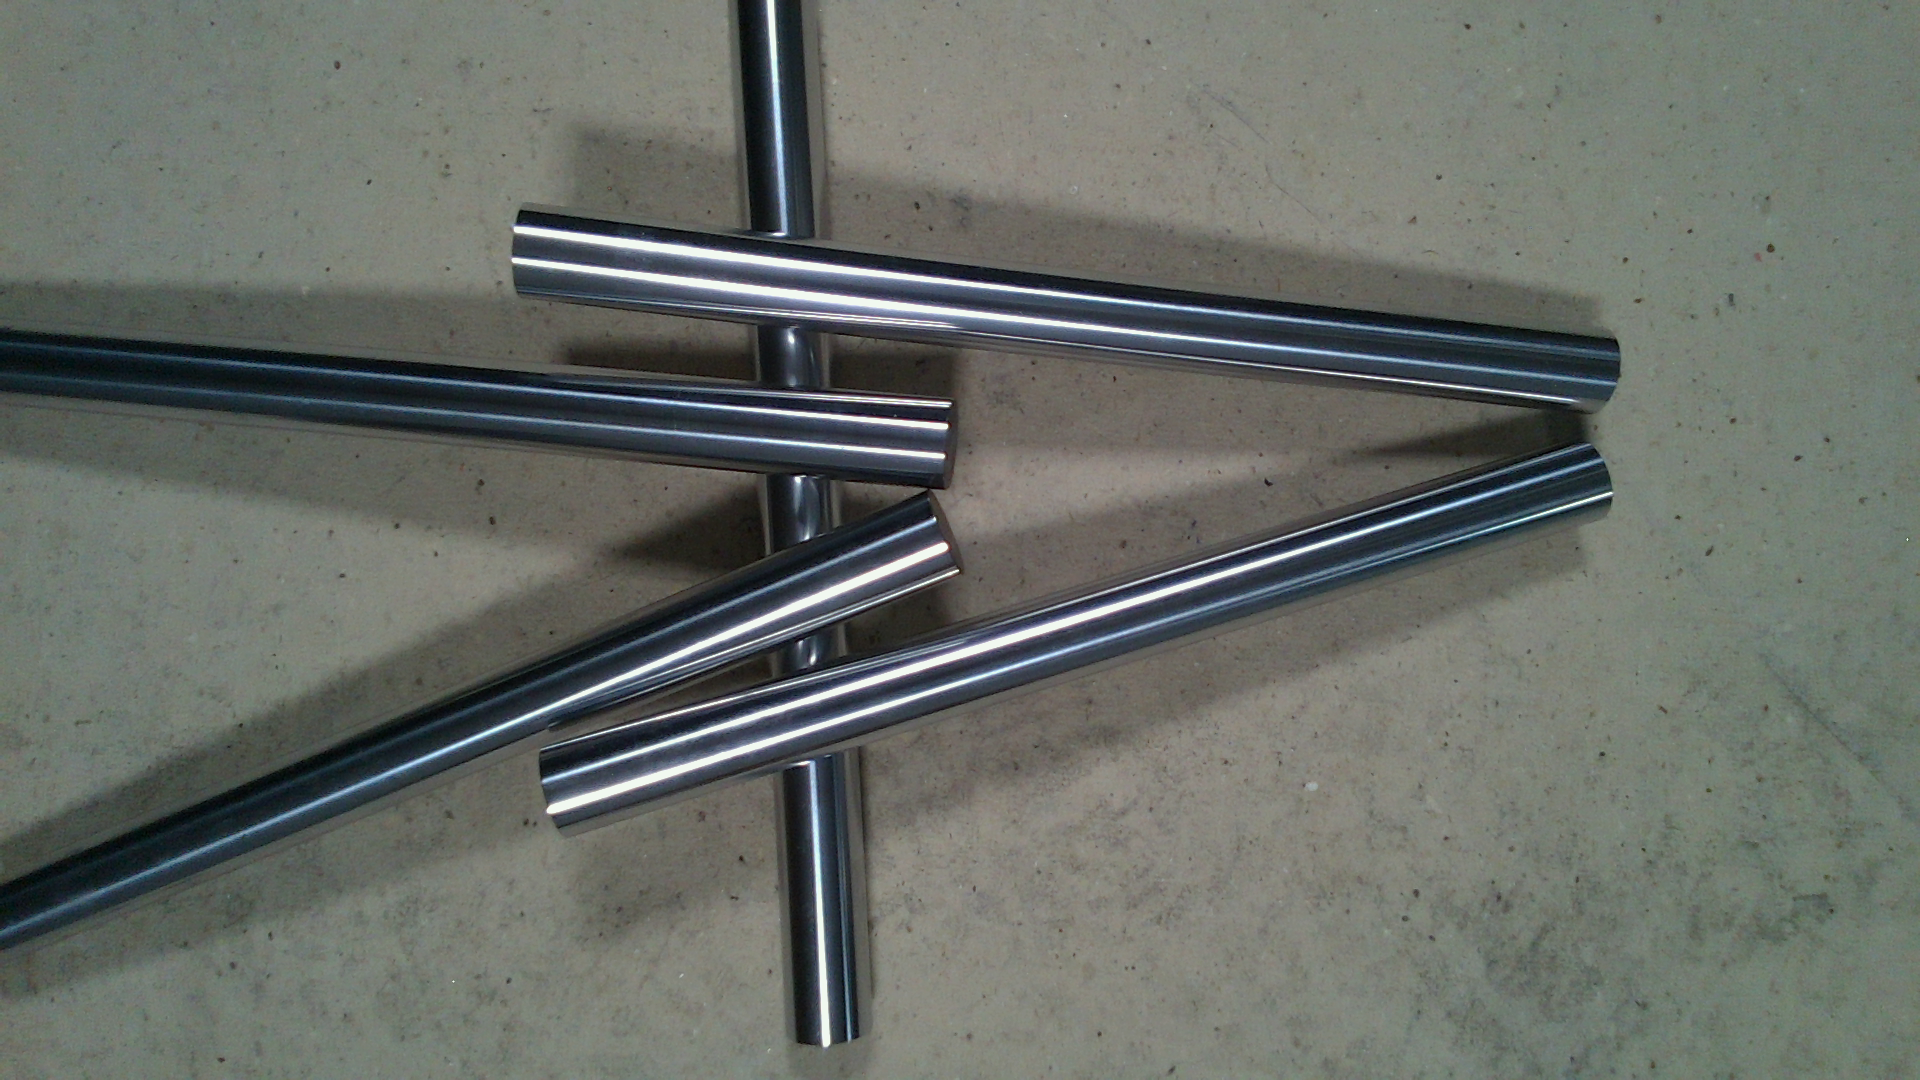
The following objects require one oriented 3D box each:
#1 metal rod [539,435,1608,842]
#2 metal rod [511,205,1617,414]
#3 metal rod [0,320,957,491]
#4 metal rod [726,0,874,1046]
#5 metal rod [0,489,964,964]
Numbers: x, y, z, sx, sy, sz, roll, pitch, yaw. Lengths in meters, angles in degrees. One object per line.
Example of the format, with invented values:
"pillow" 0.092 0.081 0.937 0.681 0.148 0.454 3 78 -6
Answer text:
"metal rod" 0.036 0.025 0.380 0.300 0.025 0.025 -17 90 -7
"metal rod" 0.033 -0.062 0.379 0.300 0.025 0.025 5 90 -6
"metal rod" -0.150 -0.039 0.381 0.300 0.025 0.025 5 90 5
"metal rod" -0.046 -0.009 0.395 0.025 0.025 0.300 -3 90 0
"metal rod" -0.142 0.054 0.381 0.300 0.025 0.025 -22 90 5
